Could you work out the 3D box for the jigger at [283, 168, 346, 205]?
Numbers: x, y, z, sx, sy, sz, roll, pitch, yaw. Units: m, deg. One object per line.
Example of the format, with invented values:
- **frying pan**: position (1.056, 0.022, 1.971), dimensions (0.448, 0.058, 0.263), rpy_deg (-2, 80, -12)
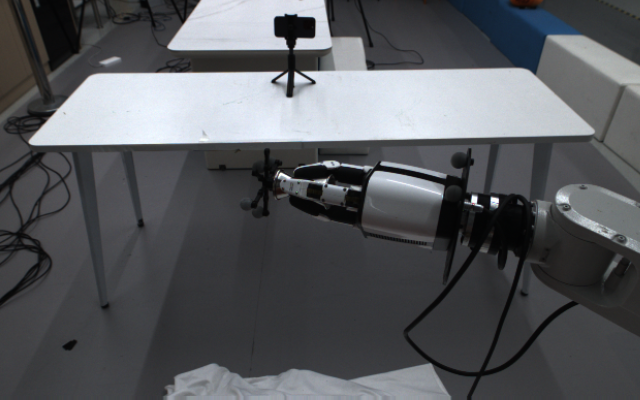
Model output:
- **jigger**: position (-0.013, -0.019, 0.599), dimensions (0.071, 0.043, 0.043), rpy_deg (8, 35, 16)
